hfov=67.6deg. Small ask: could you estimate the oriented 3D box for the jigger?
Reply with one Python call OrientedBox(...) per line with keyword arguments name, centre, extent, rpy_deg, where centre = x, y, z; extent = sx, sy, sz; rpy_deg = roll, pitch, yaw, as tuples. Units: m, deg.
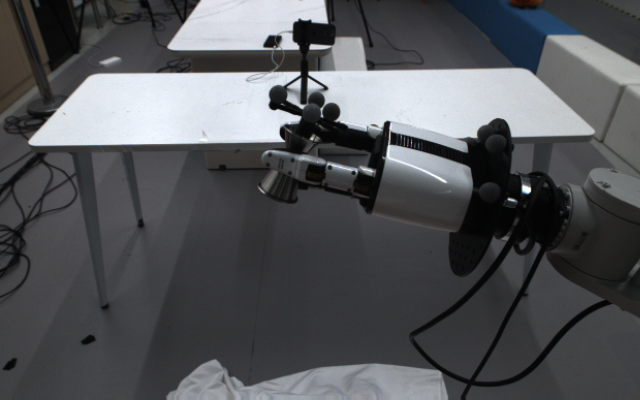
OrientedBox(name="jigger", centre=(-0.030, -0.037, 0.481), extent=(0.043, 0.071, 0.043), rpy_deg=(23, 19, -8))
